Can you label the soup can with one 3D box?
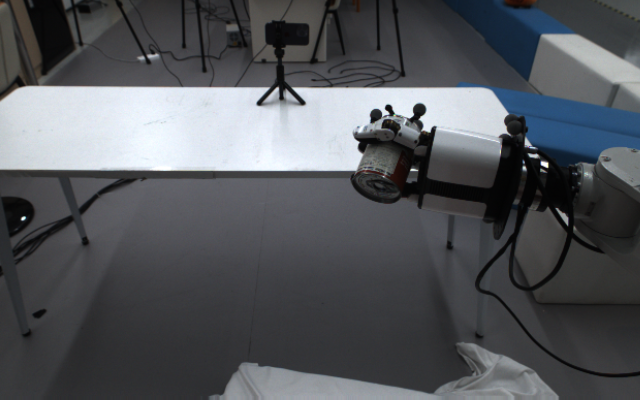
[{"bbox_3d":[0.091,-0.058,0.652,0.067,0.067,0.101,15,63,18],"label":"soup can"}]
